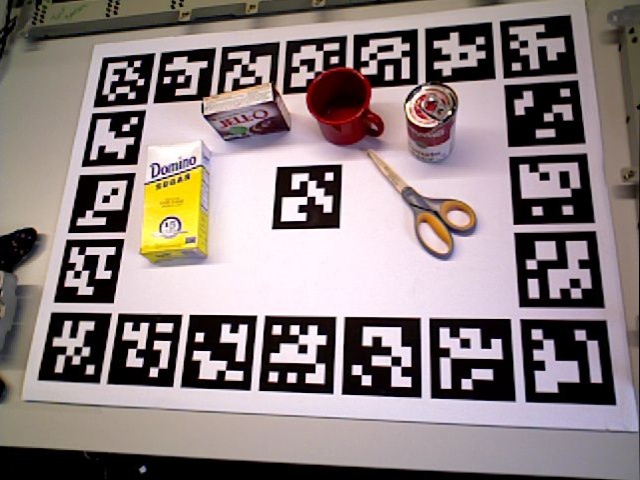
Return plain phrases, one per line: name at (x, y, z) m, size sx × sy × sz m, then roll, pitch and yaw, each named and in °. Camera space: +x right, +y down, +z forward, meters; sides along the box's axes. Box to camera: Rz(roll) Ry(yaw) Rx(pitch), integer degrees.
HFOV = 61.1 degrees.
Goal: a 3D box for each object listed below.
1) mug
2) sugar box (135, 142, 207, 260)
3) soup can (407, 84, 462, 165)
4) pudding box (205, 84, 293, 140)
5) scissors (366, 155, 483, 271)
mug at (0.044, -0.191, 0.777) m, size 0.093 × 0.082 × 0.117 m, roll -35°, pitch 69°, yaw 2°
sugar box at (-0.223, -0.061, 0.820) m, size 0.093 × 0.045 × 0.175 m, roll -3°, pitch 75°, yaw 13°
soup can at (0.155, -0.154, 0.740) m, size 0.068 × 0.102 × 0.067 m, roll -4°, pitch 71°, yaw 10°
pudding box at (-0.103, -0.192, 0.801) m, size 0.114 × 0.090 × 0.038 m, roll -9°, pitch 78°, yaw 8°
scissors at (0.134, -0.052, 0.752) m, size 0.088 × 0.016 × 0.202 m, roll -44°, pitch 71°, yaw 8°
